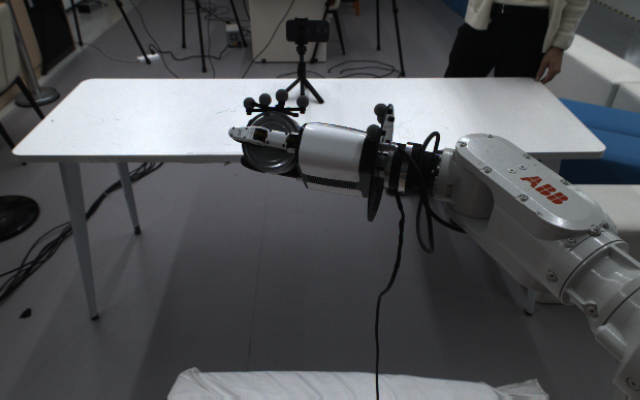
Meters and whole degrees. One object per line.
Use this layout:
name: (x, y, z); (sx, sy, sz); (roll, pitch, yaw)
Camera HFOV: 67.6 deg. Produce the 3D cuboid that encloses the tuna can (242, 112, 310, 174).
tuna can: (-0.064, -0.080, 0.686); (0.085, 0.085, 0.034); (12, -1, 14)
